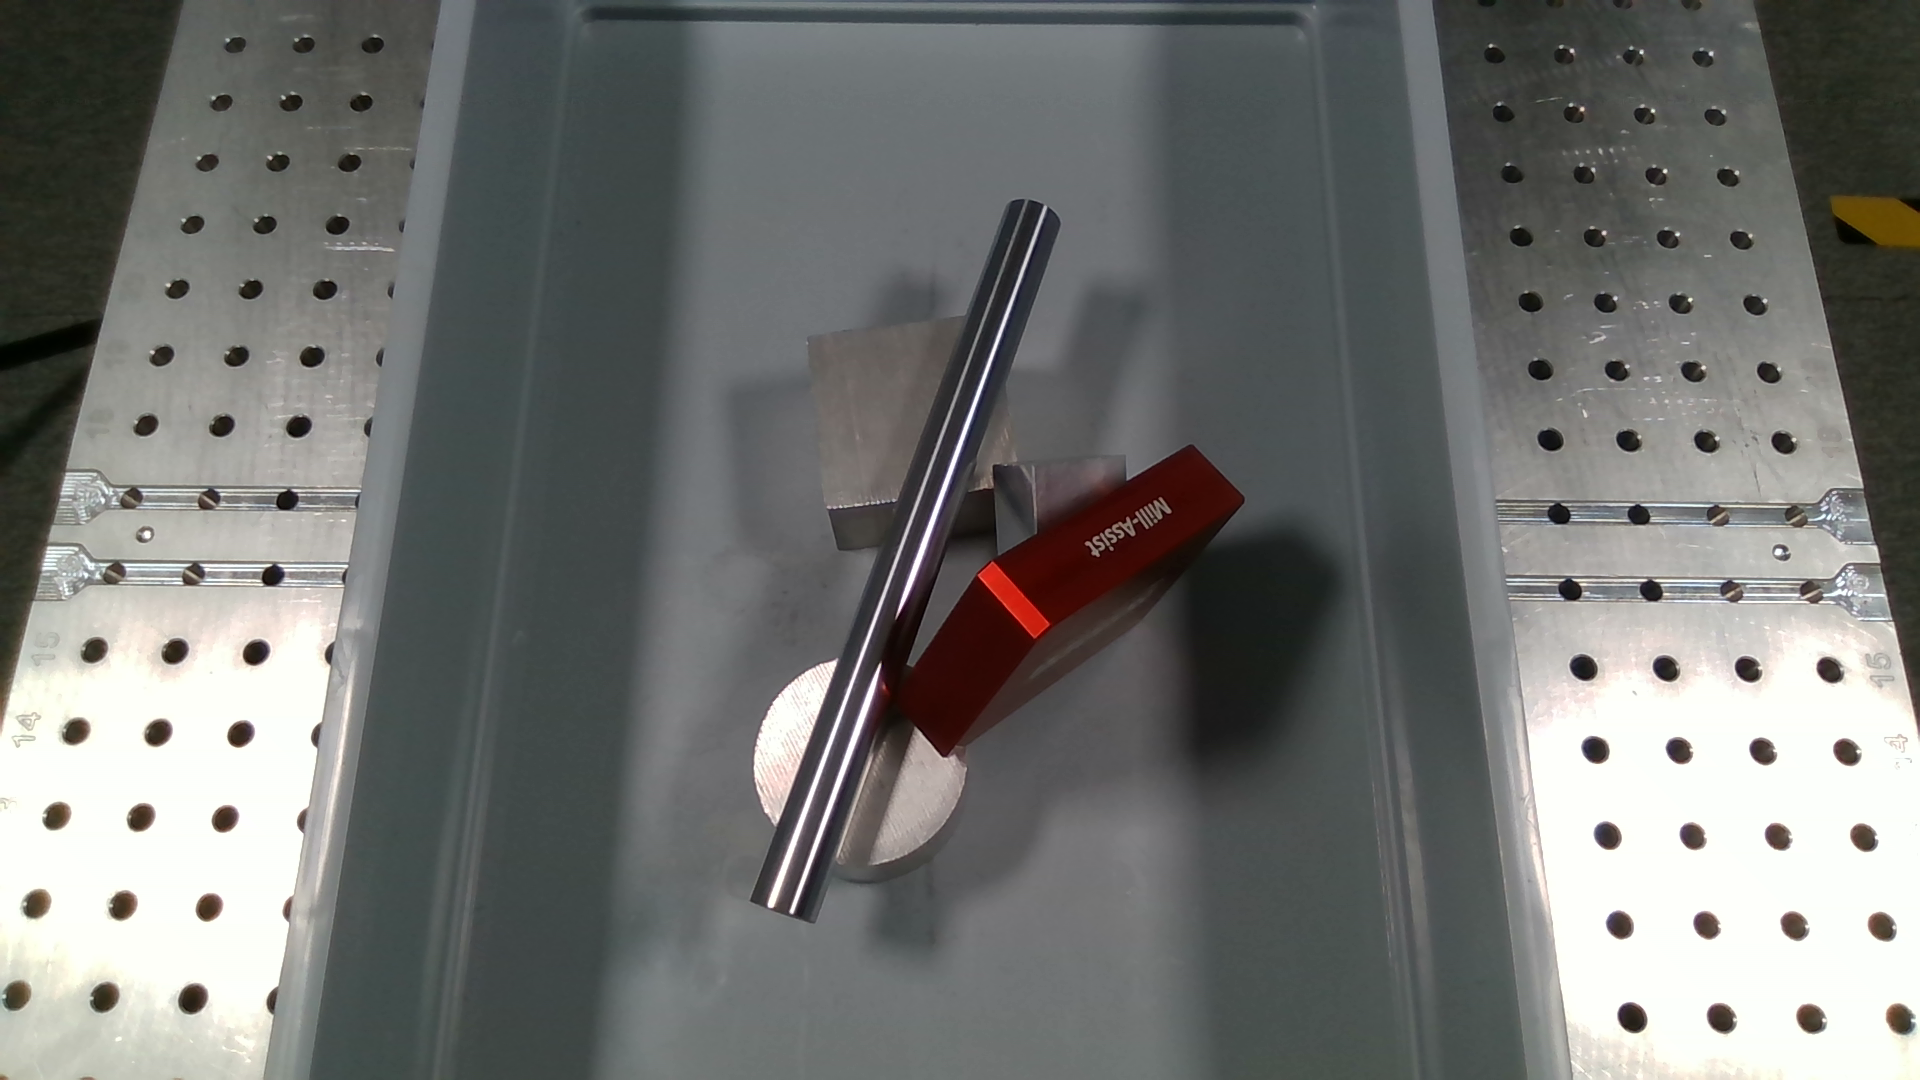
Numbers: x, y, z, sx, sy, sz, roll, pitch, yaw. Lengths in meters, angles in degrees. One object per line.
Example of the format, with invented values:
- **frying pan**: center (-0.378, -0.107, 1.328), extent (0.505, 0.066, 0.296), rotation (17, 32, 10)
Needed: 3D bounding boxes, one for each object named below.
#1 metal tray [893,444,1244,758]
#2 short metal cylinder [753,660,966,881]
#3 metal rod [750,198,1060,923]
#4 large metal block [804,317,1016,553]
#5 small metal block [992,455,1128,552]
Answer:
- **metal tray**: center (0.042, 0.022, 0.518), extent (0.130, 0.090, 0.030), rotation (-29, 71, -41)
- **short metal cylinder**: center (-0.038, 0.091, 0.541), extent (0.080, 0.050, 0.080), rotation (0, 70, 0)
- **metal rod**: center (-0.016, -0.003, 0.534), extent (0.025, 0.025, 0.299), rotation (17, 71, 6)
- **large metal block**: center (-0.020, -0.045, 0.590), extent (0.080, 0.050, 0.080), rotation (-7, 70, -3)
- **small metal block**: center (0.042, -0.007, 0.554), extent (0.050, 0.025, 0.050), rotation (-8, 98, -37)
